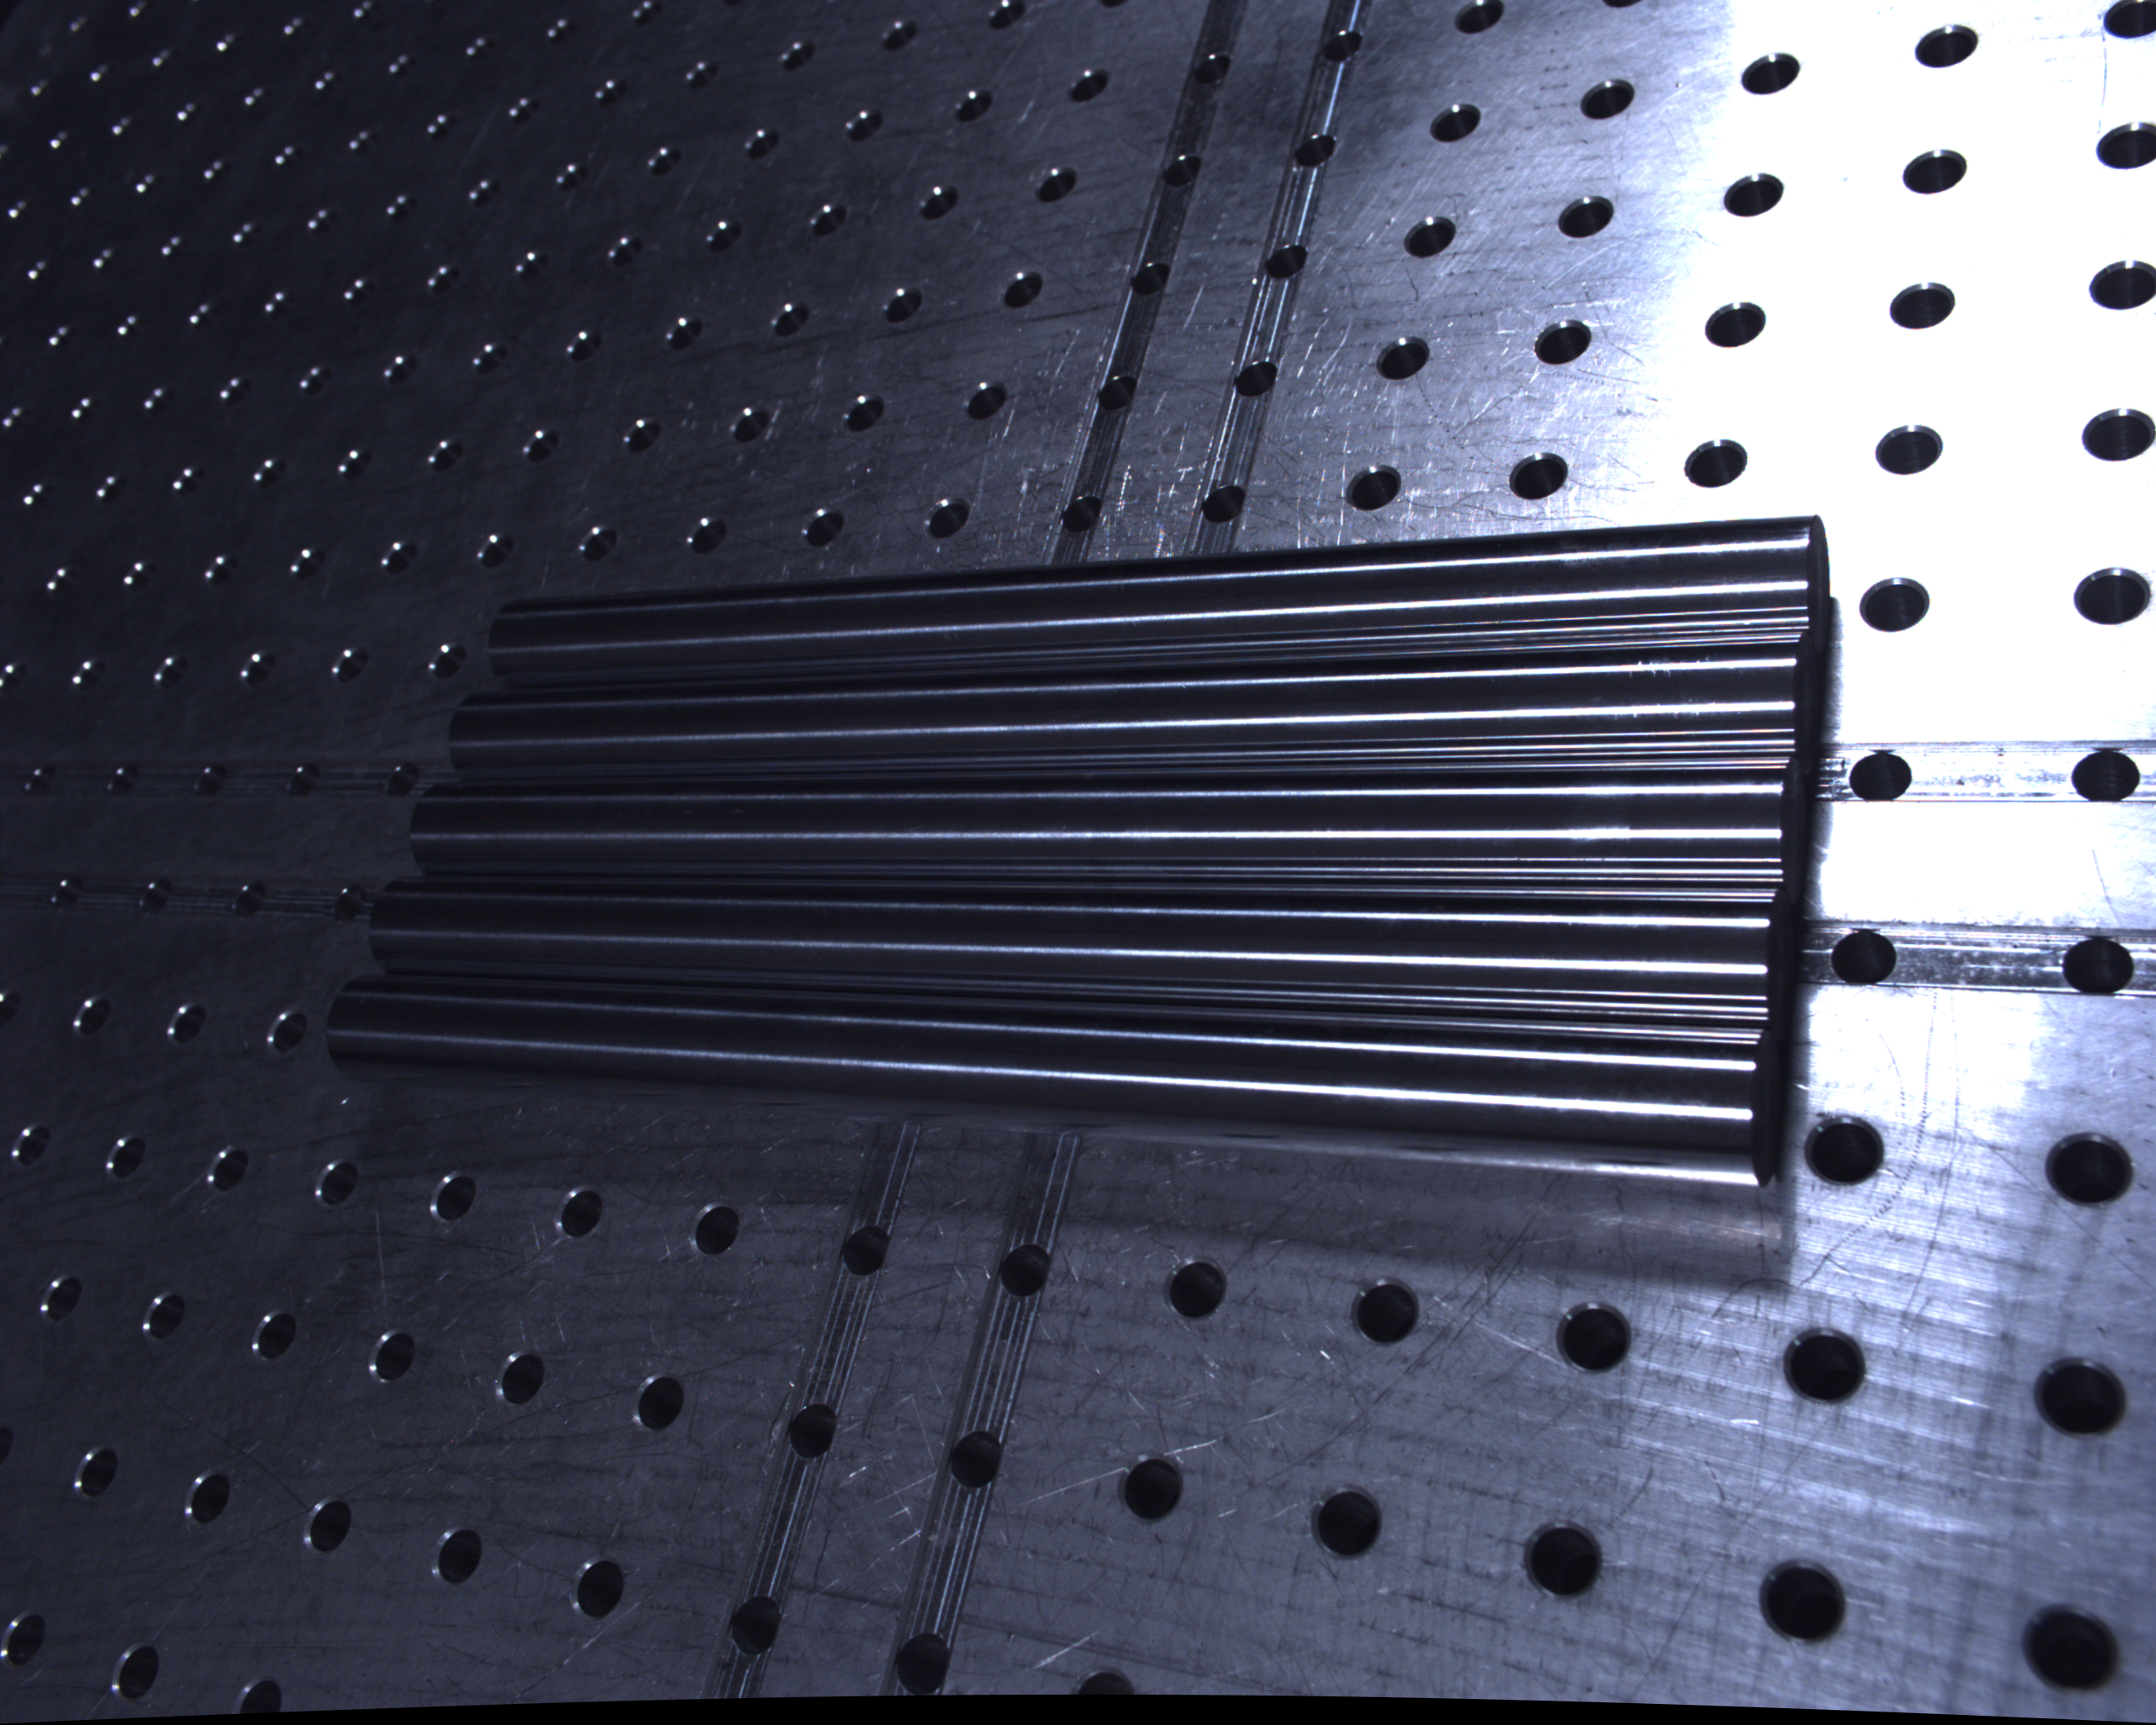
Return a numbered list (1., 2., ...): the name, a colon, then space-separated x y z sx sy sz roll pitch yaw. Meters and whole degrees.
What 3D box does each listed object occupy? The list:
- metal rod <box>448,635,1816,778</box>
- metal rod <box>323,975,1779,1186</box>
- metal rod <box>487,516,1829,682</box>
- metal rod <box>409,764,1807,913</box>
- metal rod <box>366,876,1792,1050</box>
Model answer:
1. metal rod: -0.008 -0.028 0.428 0.300 0.025 0.025 1 62 28
2. metal rod: -0.025 0.038 0.397 0.300 0.025 0.025 0 62 27
3. metal rod: -0.002 -0.050 0.439 0.300 0.025 0.025 1 62 28
4. metal rod: -0.014 -0.005 0.417 0.300 0.025 0.025 1 62 28
5. metal rod: -0.020 0.017 0.407 0.300 0.025 0.025 1 62 28
